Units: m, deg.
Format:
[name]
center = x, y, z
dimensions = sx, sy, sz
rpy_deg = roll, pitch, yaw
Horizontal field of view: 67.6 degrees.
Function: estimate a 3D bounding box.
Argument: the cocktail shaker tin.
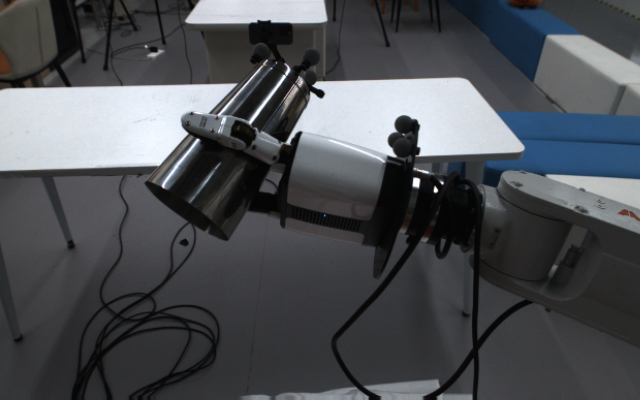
[cocktail shaker tin]
center = -0.080, -0.059, 0.477
dimensions = 0.093, 0.093, 0.170
rpy_deg = 22, 67, 26
